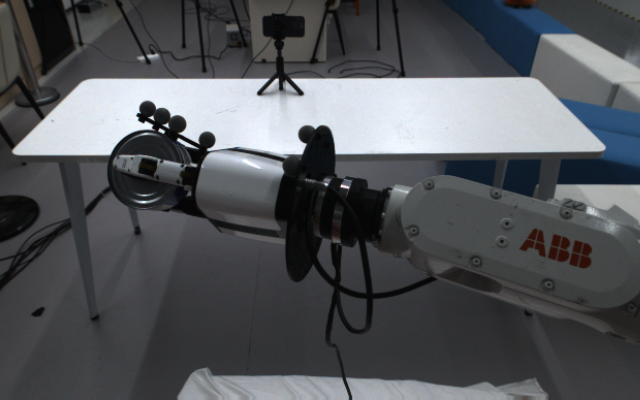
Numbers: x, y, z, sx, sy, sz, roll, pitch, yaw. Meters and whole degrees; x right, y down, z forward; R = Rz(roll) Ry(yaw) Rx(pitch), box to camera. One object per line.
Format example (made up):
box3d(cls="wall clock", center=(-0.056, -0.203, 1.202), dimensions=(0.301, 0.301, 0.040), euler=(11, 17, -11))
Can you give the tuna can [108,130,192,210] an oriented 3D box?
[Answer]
box3d(cls="tuna can", center=(-0.181, -0.030, 0.527), dimensions=(0.085, 0.085, 0.034), euler=(9, -4, 10))
